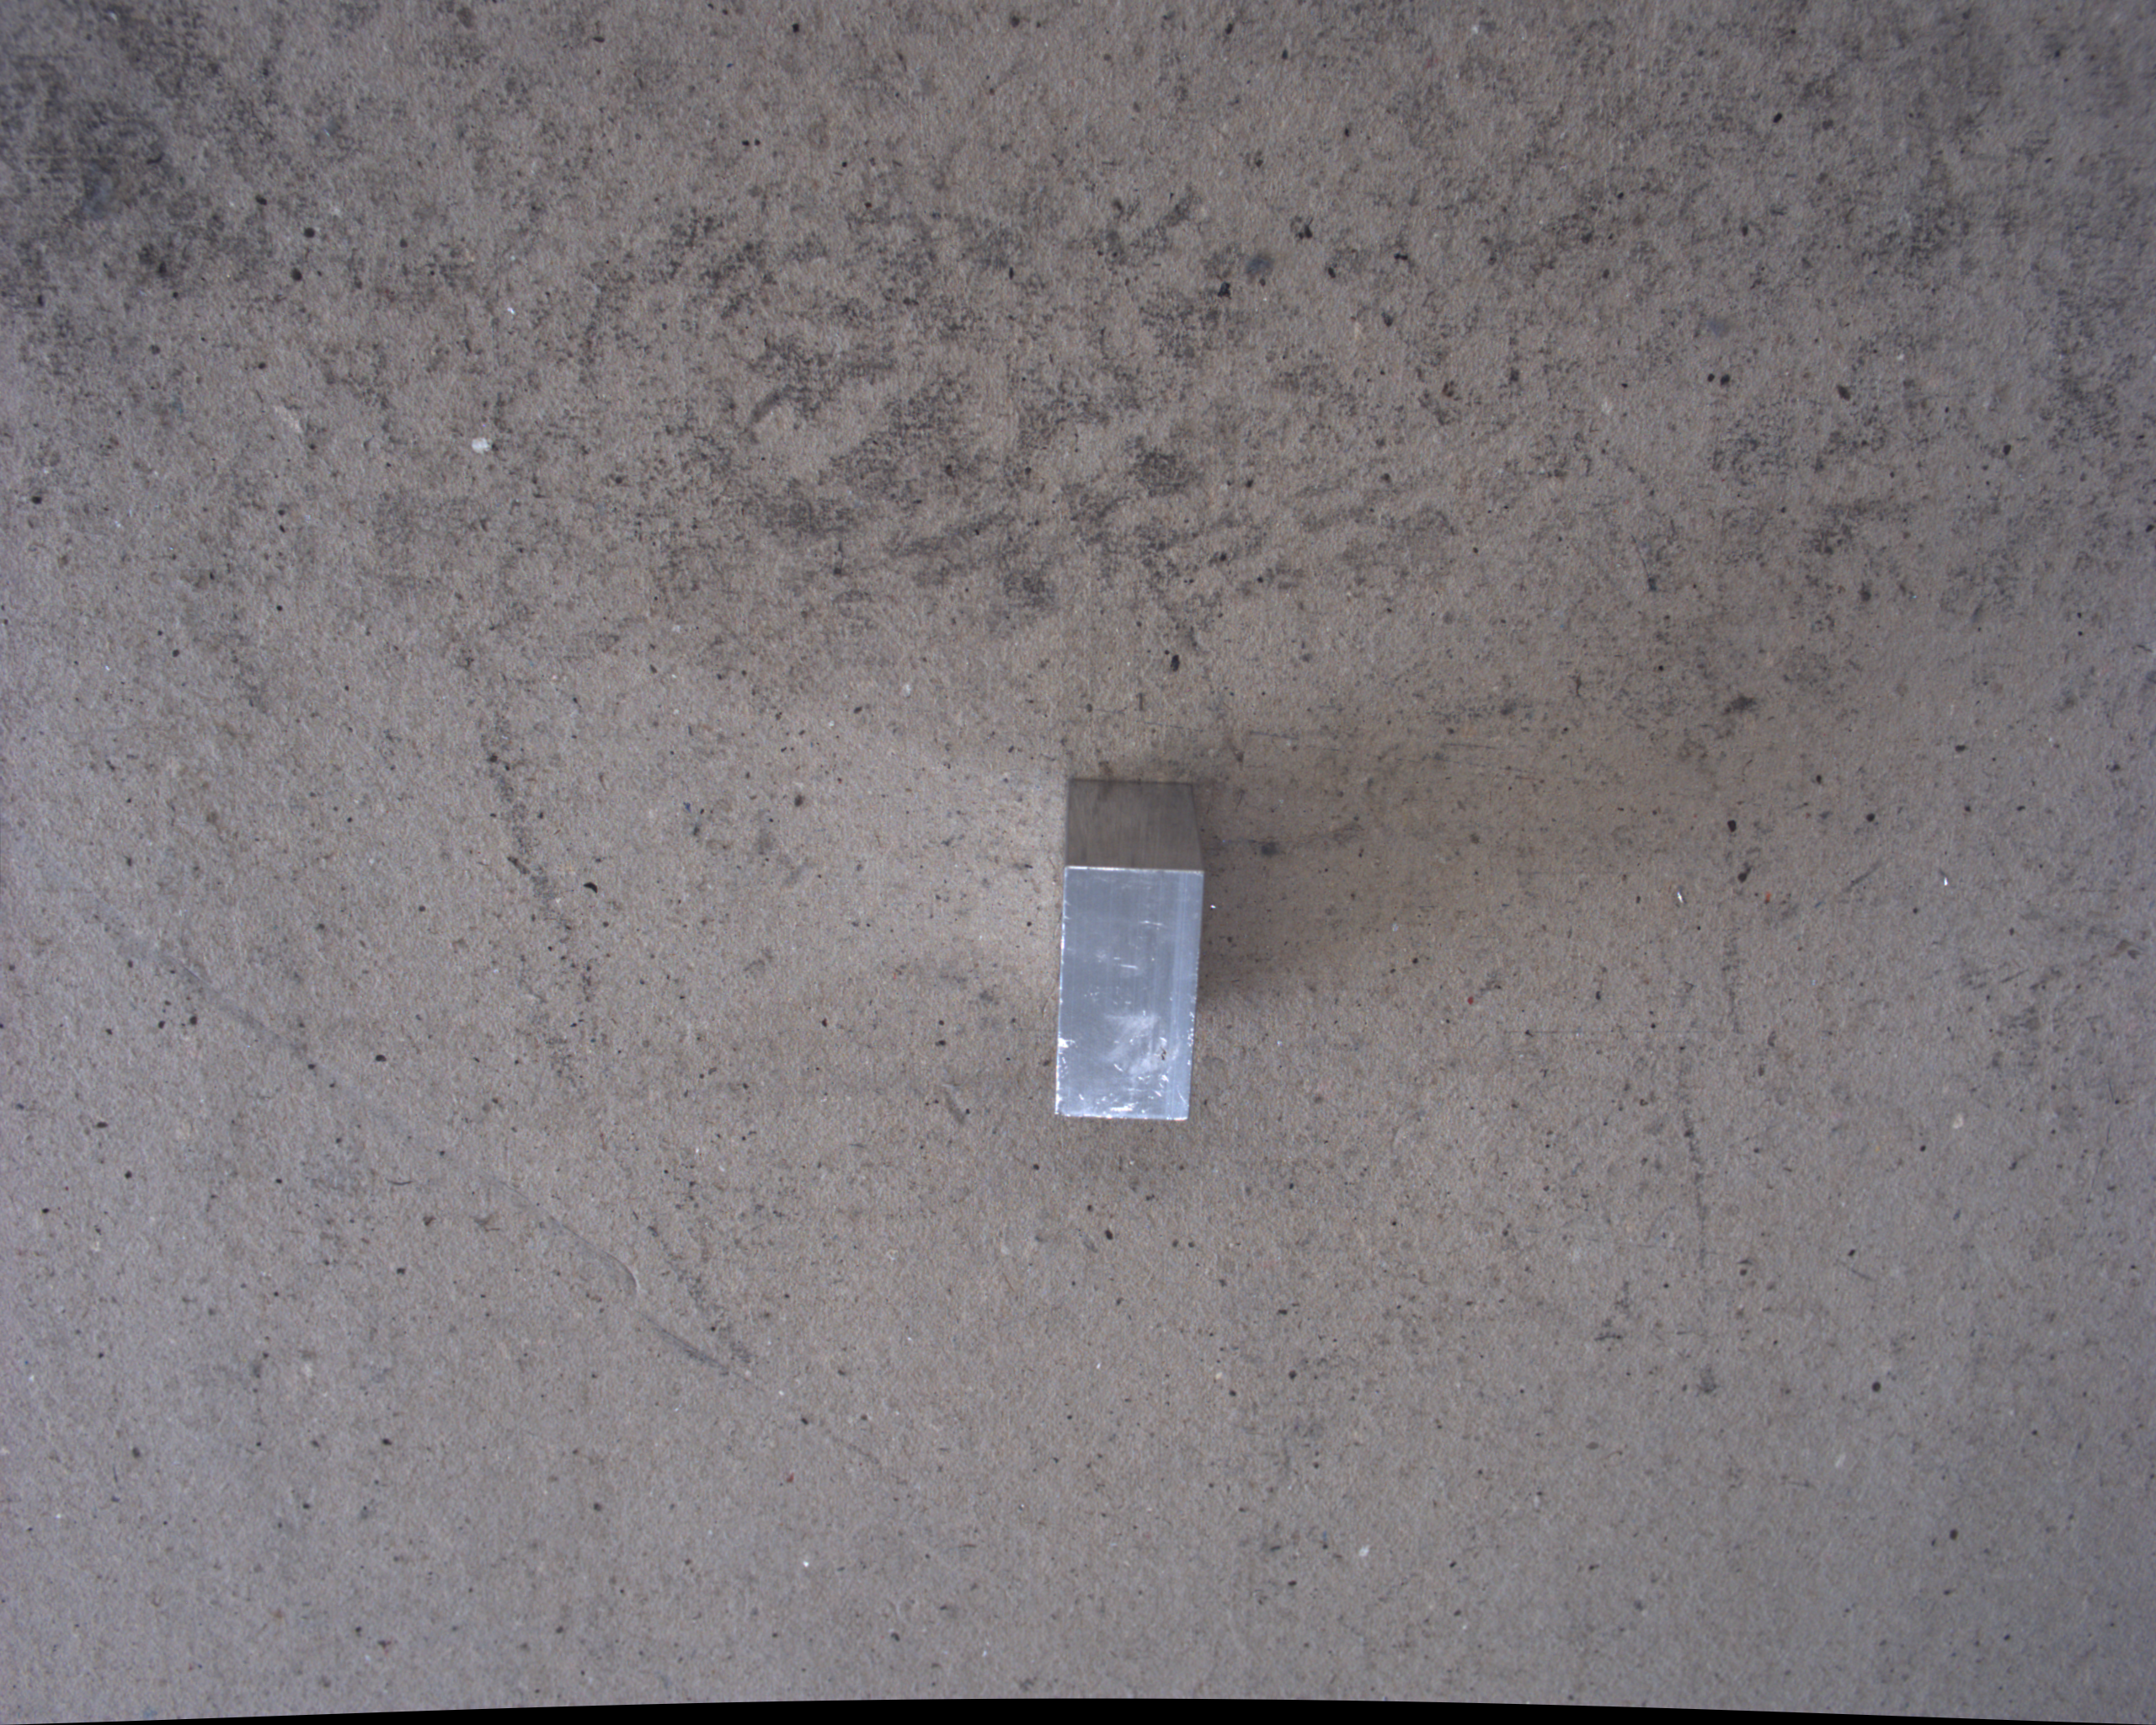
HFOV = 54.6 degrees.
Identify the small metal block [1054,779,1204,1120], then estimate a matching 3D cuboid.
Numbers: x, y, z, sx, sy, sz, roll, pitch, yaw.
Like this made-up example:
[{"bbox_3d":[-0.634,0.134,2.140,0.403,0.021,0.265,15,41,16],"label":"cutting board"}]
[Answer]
[{"bbox_3d":[0.009,0.016,0.403,0.025,0.050,0.050,2,110,-2],"label":"small metal block"}]
